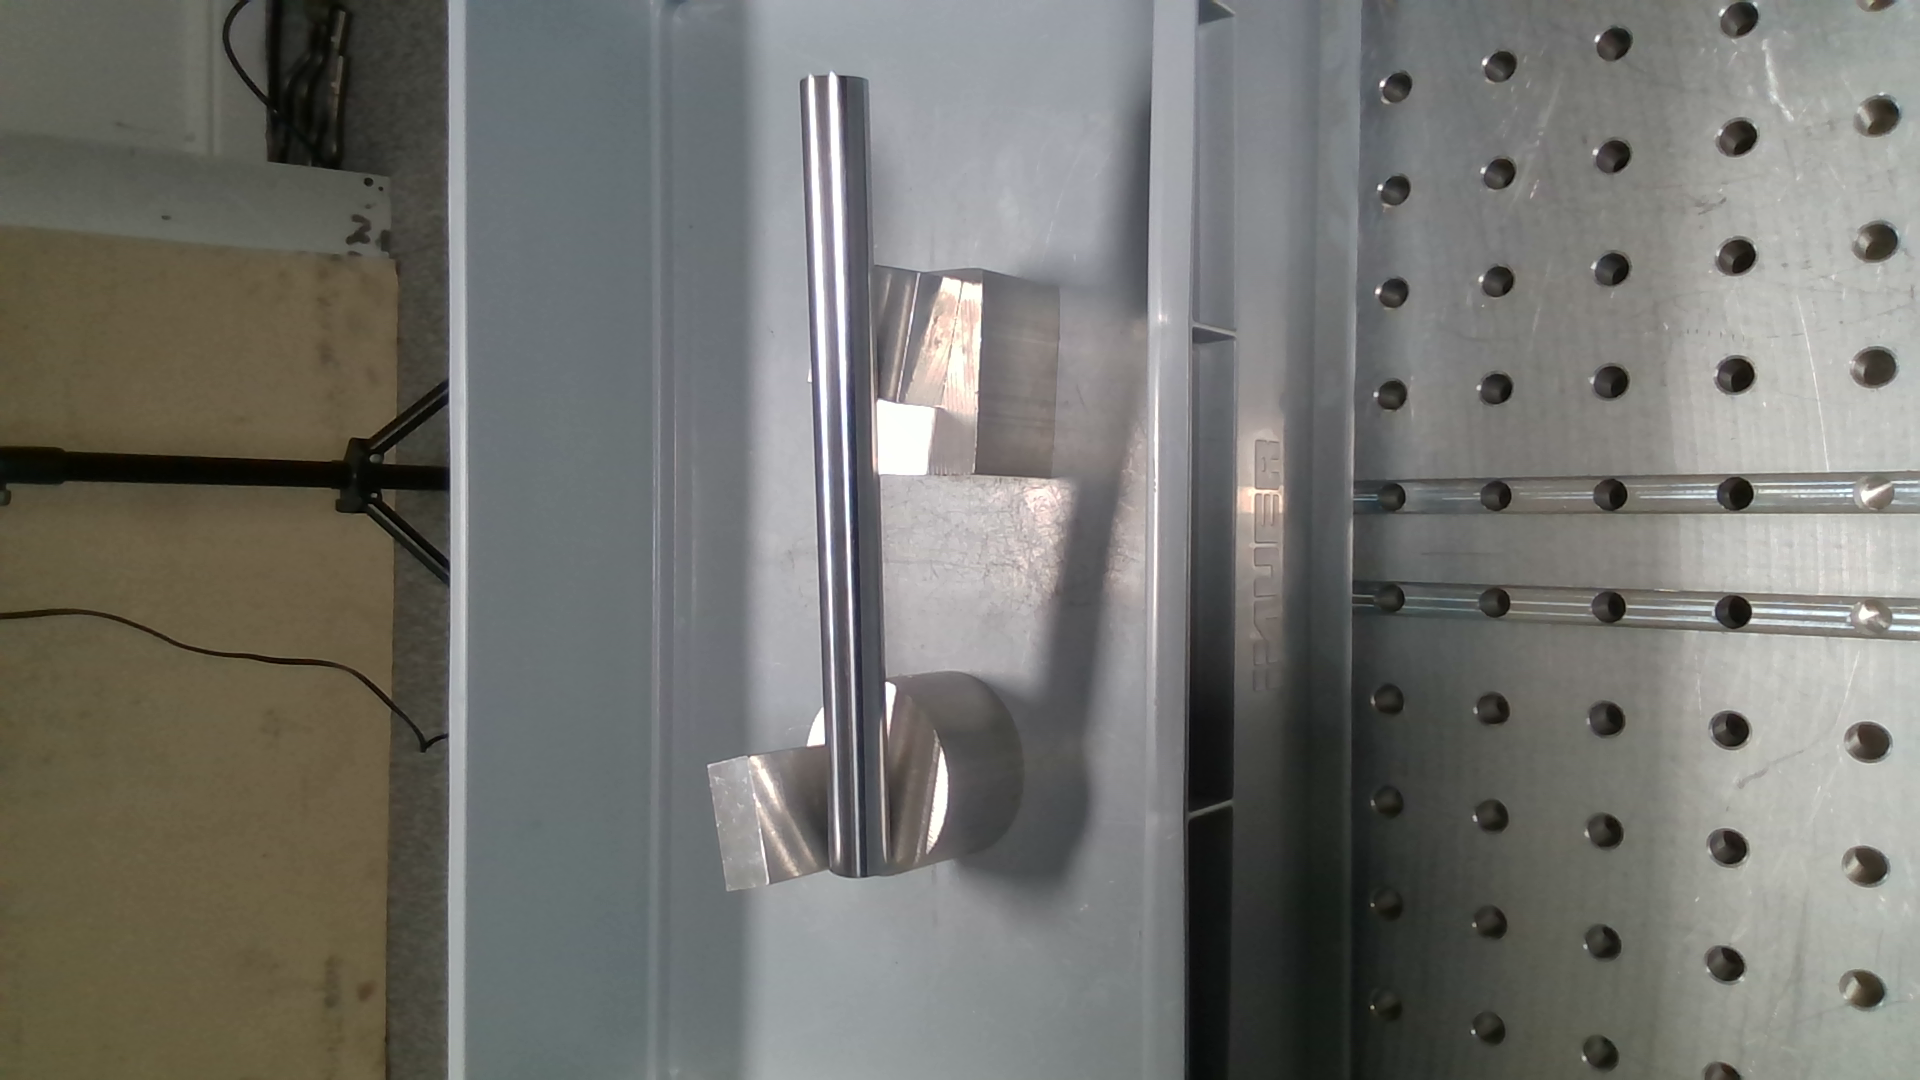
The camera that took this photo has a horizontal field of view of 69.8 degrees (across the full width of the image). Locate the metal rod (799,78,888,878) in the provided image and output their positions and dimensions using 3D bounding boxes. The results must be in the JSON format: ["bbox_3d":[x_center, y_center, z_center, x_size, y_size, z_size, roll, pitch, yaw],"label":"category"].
[{"bbox_3d":[-0.043,-0.018,0.525,0.025,0.025,0.300,8,103,40],"label":"metal rod"}]

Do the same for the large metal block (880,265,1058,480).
[{"bbox_3d":[-0.008,-0.066,0.569,0.080,0.050,0.080,3,93,40],"label":"large metal block"}]

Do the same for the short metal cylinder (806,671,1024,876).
[{"bbox_3d":[-0.020,0.097,0.582,0.080,0.050,0.080,0,91,40],"label":"short metal cylinder"}]

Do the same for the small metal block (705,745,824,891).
[{"bbox_3d":[-0.072,0.111,0.559,0.025,0.050,0.050,-19,78,39],"label":"small metal block"}]

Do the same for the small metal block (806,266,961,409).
[{"bbox_3d":[-0.031,-0.081,0.540,0.050,0.025,0.050,17,101,38],"label":"small metal block"}]
